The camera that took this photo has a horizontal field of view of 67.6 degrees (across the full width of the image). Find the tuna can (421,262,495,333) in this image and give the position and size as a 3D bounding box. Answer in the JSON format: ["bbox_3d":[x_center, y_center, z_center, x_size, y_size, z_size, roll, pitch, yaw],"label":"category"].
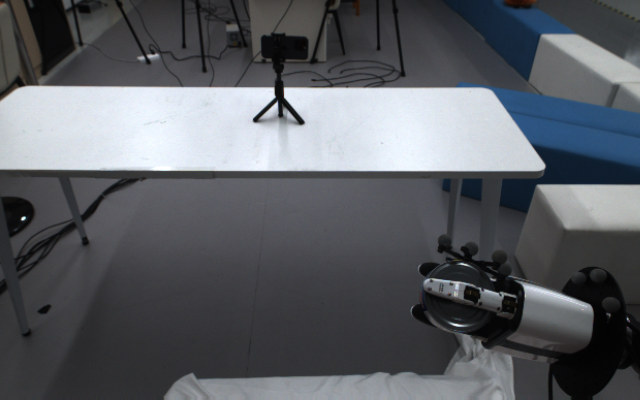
[{"bbox_3d":[0.169,0.115,0.591,0.085,0.034,0.085,0,71,0],"label":"tuna can"}]
